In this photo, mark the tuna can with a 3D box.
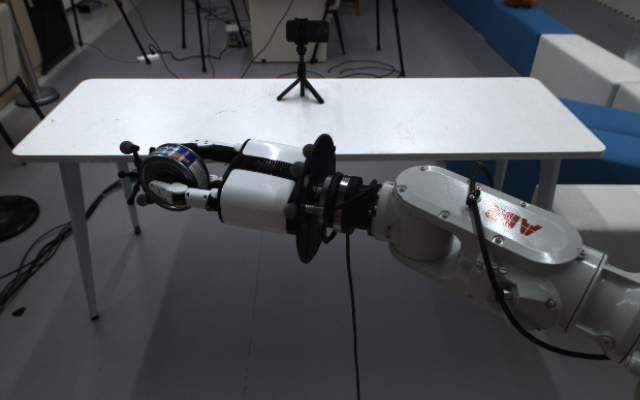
[{"bbox_3d":[-0.187,-0.026,0.624,0.085,0.085,0.034,9,34,10],"label":"tuna can"}]
